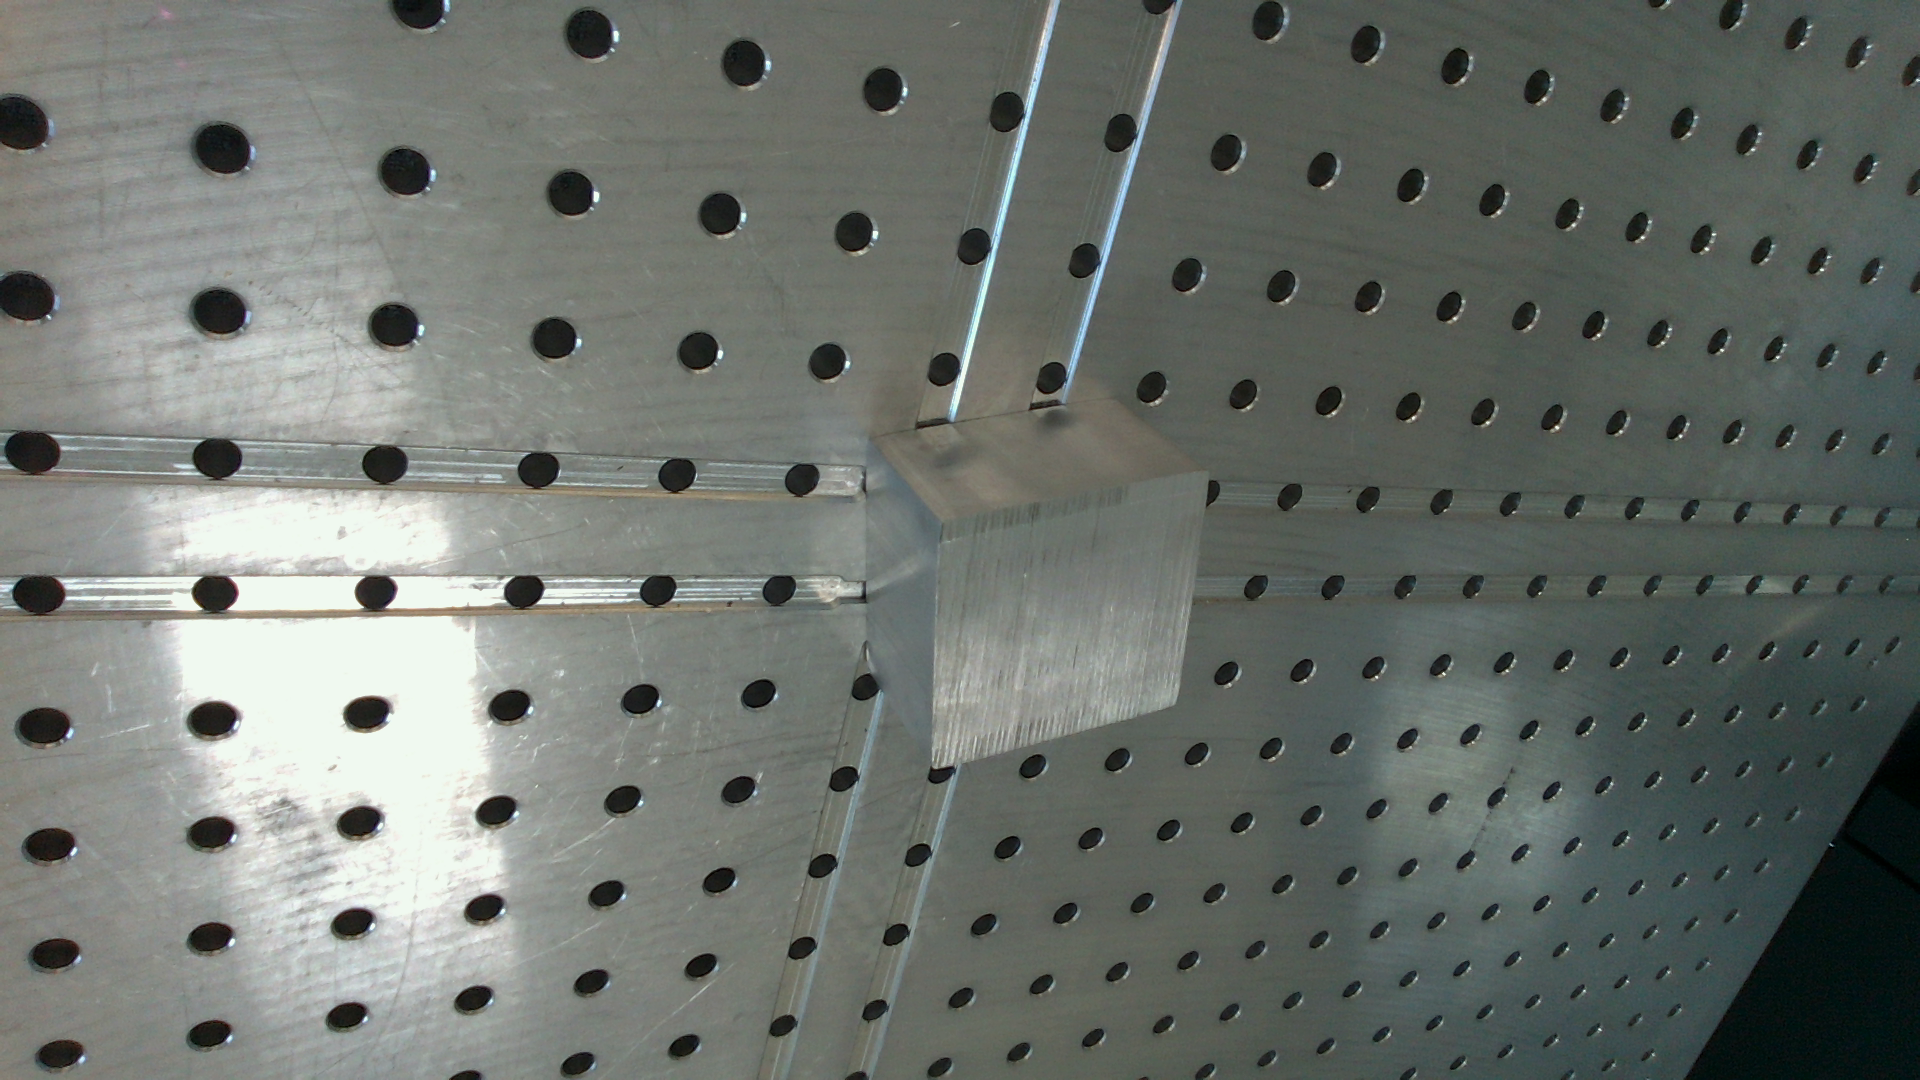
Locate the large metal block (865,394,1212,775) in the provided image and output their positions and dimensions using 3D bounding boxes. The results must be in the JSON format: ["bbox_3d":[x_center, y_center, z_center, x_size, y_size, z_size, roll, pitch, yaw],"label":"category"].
[{"bbox_3d":[0.019,0.011,0.392,0.080,0.050,0.080,-12,124,-22],"label":"large metal block"}]
